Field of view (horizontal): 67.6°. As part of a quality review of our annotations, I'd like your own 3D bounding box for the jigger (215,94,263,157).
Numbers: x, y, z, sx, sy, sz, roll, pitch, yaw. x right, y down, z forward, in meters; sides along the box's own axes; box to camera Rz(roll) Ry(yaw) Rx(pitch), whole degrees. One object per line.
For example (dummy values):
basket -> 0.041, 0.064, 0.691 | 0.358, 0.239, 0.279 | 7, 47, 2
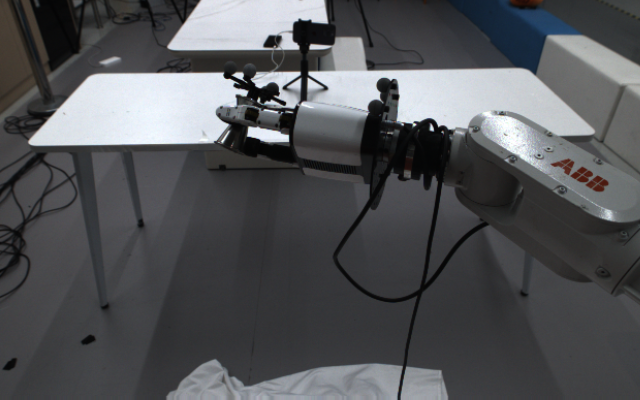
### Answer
jigger -> -0.105, -0.098, 0.625 | 0.043, 0.071, 0.043 | 24, -2, 1
